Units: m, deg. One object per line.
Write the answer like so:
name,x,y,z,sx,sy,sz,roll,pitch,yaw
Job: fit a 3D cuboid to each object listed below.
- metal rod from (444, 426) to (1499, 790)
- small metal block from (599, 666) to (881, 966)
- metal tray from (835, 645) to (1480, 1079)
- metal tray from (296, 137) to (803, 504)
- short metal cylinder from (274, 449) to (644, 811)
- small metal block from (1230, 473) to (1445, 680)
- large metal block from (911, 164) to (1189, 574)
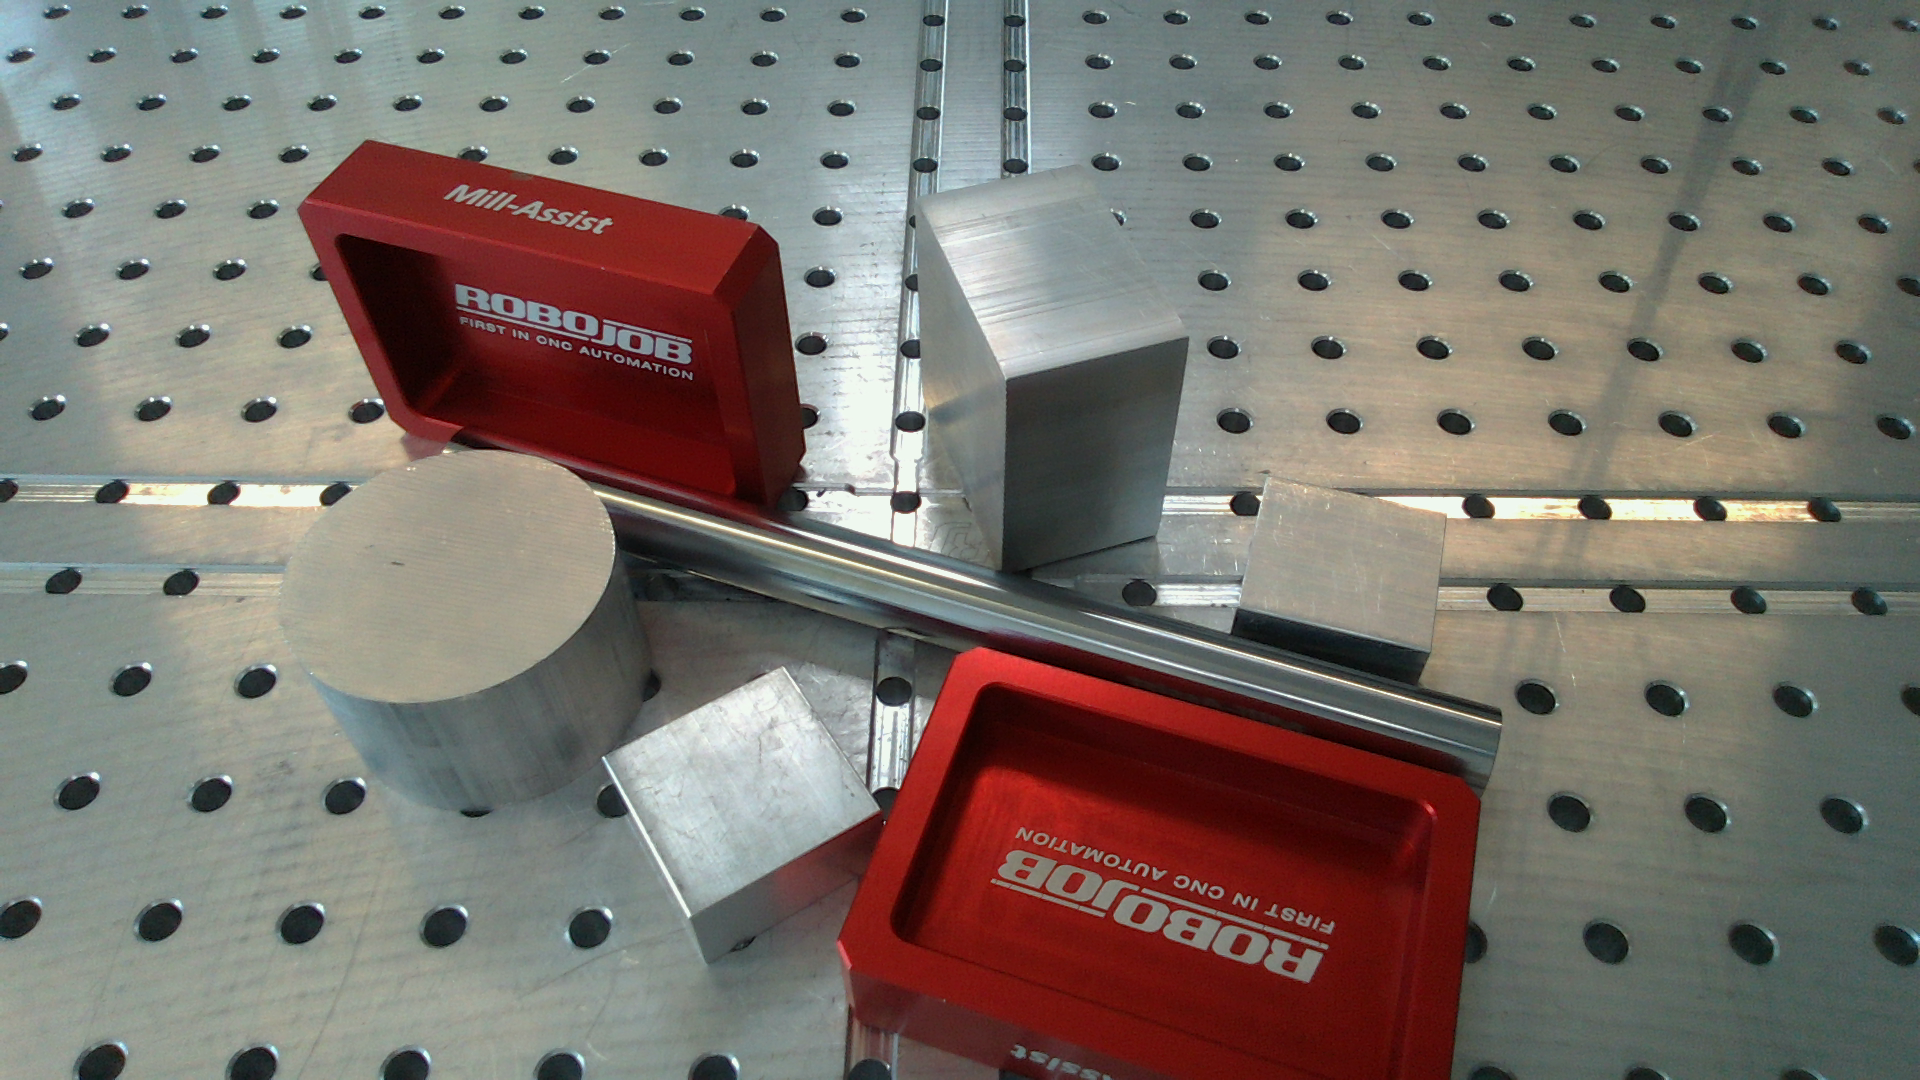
metal rod,-0.008,0.016,0.381,0.299,0.025,0.025,15,52,12
small metal block,-0.053,0.067,0.339,0.050,0.025,0.050,-26,55,-20
metal tray,0.047,0.083,0.321,0.130,0.030,0.090,14,52,12
metal tray,-0.115,-0.060,0.401,0.130,0.090,0.030,14,52,12
short metal cylinder,-0.127,0.022,0.358,0.080,0.050,0.080,0,50,0
small metal block,0.104,0.013,0.384,0.050,0.025,0.050,13,51,11
large metal block,0.023,-0.049,0.401,0.050,0.080,0.080,-14,51,-12
